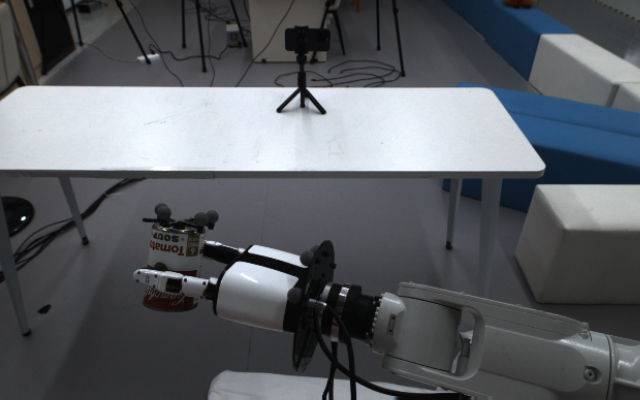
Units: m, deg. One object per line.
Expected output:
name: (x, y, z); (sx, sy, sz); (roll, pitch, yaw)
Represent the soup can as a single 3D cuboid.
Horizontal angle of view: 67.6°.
soup can: (-0.183, 0.085, 0.615); (0.067, 0.101, 0.067); (7, 3, 0)
